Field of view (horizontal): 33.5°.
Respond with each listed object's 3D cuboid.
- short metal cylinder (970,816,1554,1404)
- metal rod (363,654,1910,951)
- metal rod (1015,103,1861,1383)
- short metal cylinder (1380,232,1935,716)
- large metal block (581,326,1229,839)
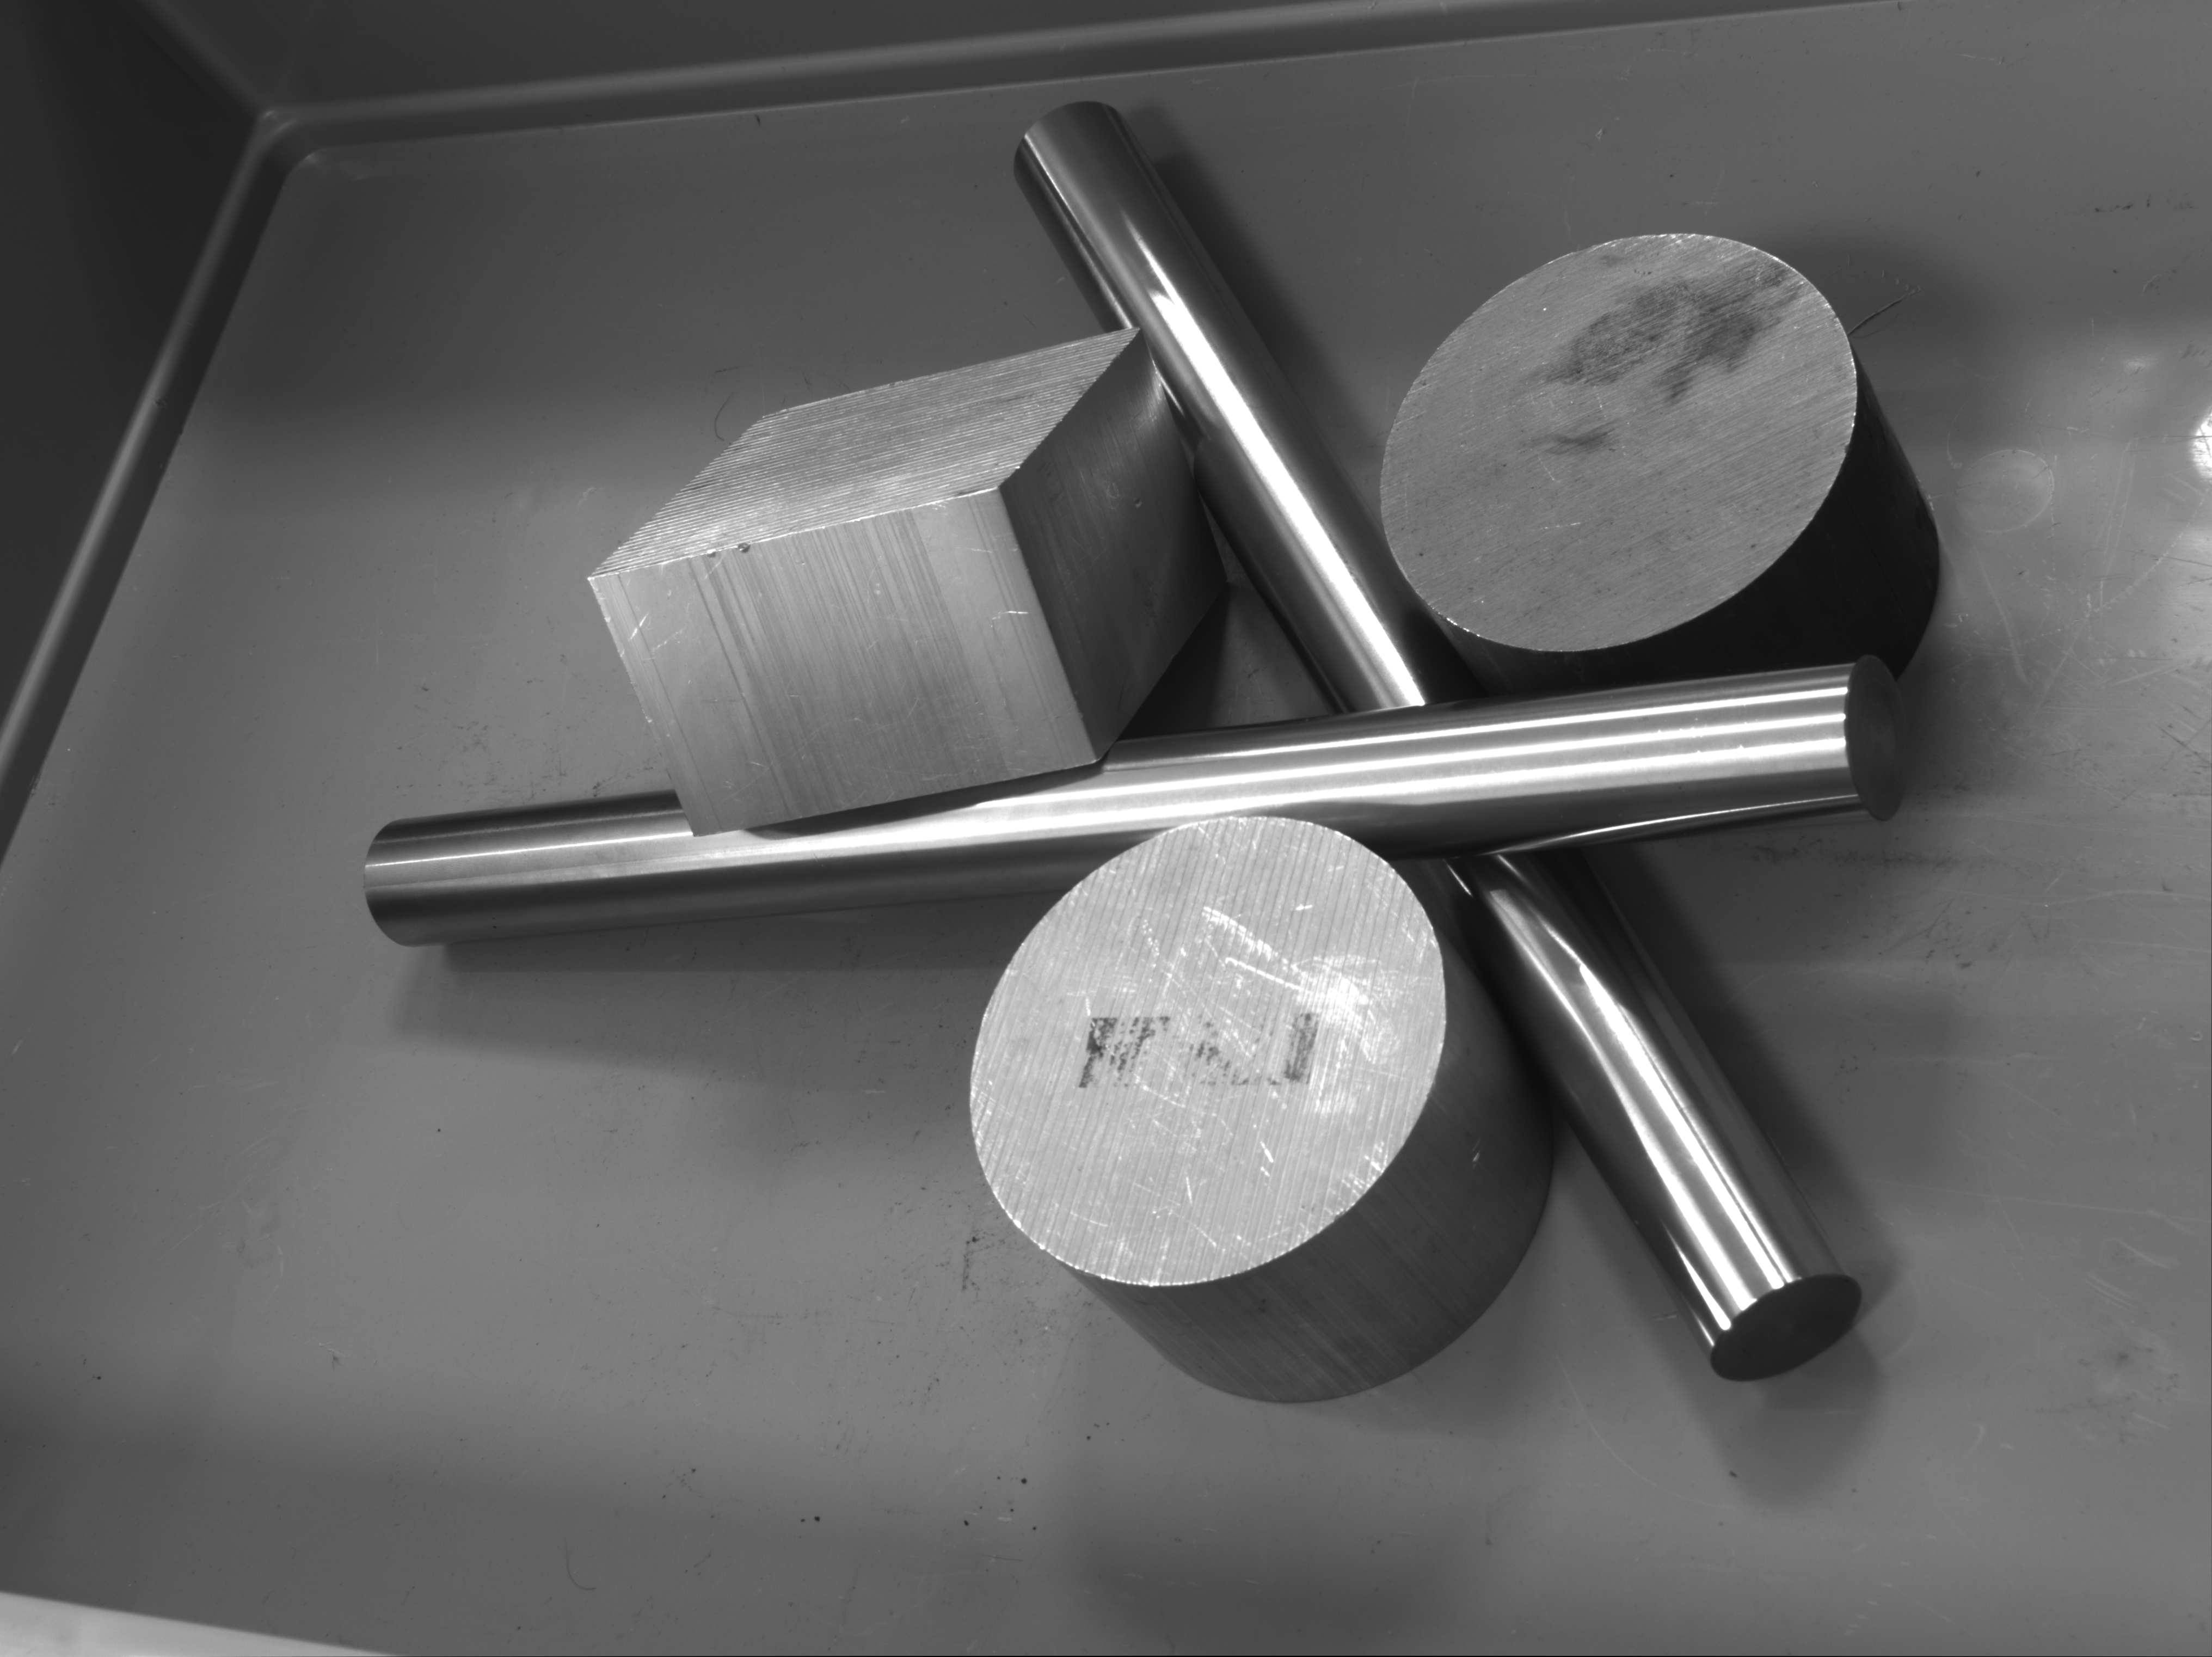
[{"bbox_3d":[0.025,0.045,0.586,0.080,0.050,0.080,-14,56,21],"label":"short metal cylinder"},{"bbox_3d":[-0.010,-0.001,0.628,0.299,0.025,0.025,-6,59,33],"label":"metal rod"},{"bbox_3d":[0.047,-0.030,0.638,0.025,0.025,0.299,-33,51,7],"label":"metal rod"},{"bbox_3d":[0.092,-0.052,0.610,0.080,0.050,0.080,-14,56,21],"label":"short metal cylinder"},{"bbox_3d":[-0.033,-0.044,0.650,0.080,0.050,0.080,-10,22,24],"label":"large metal block"}]
